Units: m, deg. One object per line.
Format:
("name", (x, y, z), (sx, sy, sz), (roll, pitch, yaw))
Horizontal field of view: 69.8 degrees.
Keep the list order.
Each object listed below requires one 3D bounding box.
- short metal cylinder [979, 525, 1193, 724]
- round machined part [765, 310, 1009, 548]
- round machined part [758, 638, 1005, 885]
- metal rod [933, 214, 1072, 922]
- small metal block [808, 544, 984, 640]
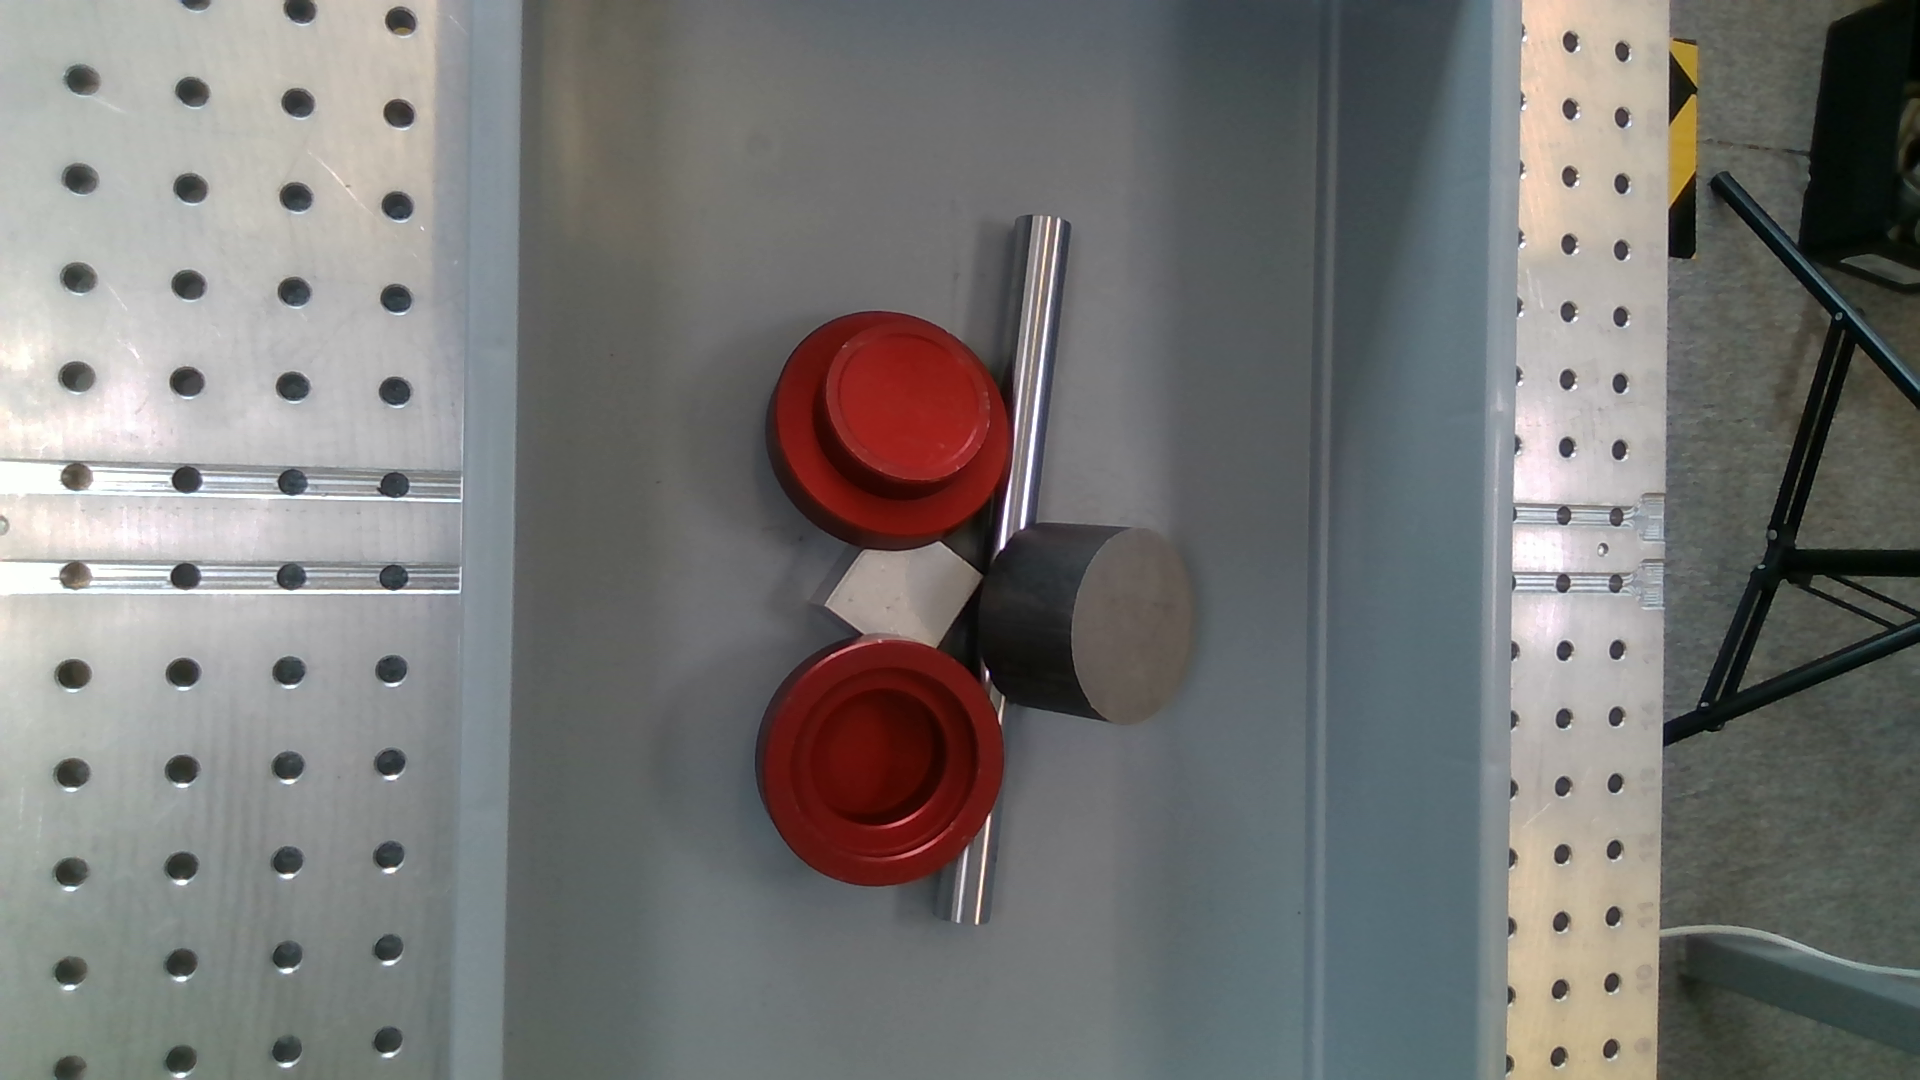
("short metal cylinder", (0.053, 0.033, 0.576), (0.080, 0.050, 0.080), (-5, 97, -46))
("round machined part", (-0.026, -0.049, 0.552), (0.098, 0.042, 0.098), (6, 70, -17))
("round machined part", (-0.035, 0.087, 0.561), (0.098, 0.042, 0.098), (-1, 94, -18))
("metal rod", (0.019, 0.011, 0.592), (0.025, 0.025, 0.300), (8, 88, -20))
("small metal block", (-0.027, 0.021, 0.575), (0.050, 0.025, 0.050), (38, 78, -16))
